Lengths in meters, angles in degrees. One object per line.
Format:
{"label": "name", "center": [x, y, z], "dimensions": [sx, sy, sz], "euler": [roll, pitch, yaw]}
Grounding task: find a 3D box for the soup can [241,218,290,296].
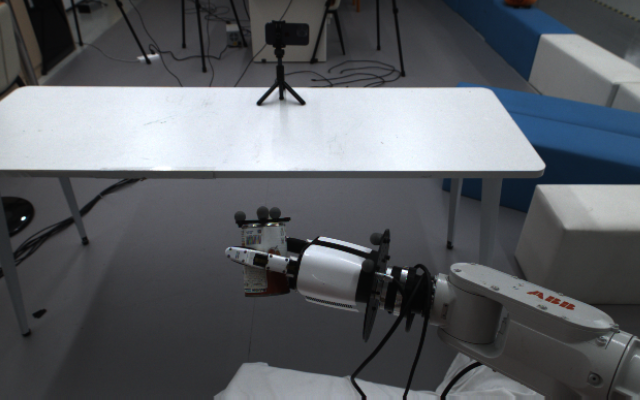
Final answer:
{"label": "soup can", "center": [-0.078, 0.088, 0.706], "dimensions": [0.067, 0.101, 0.067], "euler": [-5, -5, 0]}
